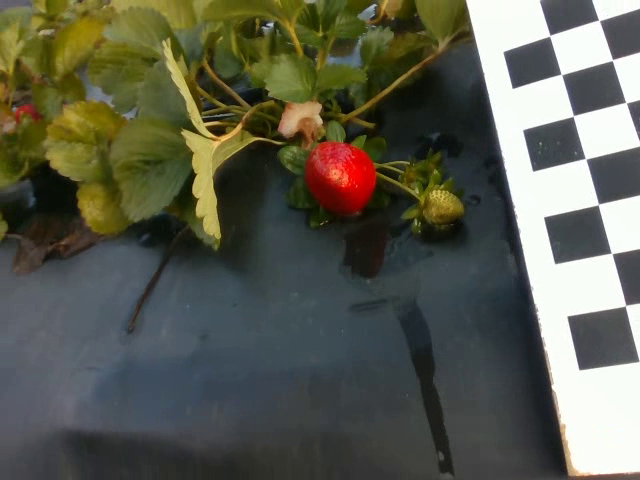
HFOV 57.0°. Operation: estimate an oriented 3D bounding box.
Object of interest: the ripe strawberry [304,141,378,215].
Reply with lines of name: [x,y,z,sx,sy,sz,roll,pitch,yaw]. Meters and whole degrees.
ripe strawberry: [0.012,-0.037,0.338,0.043,0.052,0.057,-40,0,11]
